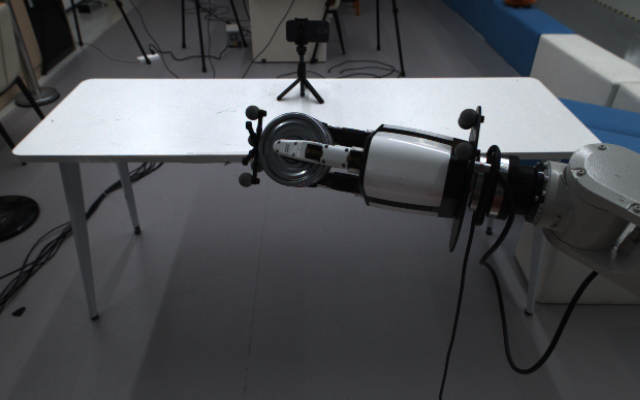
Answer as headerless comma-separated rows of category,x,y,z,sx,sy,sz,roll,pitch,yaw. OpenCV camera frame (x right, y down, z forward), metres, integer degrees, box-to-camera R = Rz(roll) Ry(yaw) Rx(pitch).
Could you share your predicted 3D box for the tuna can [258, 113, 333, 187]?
tuna can,-0.024,-0.054,0.560,0.085,0.085,0.034,10,2,11
